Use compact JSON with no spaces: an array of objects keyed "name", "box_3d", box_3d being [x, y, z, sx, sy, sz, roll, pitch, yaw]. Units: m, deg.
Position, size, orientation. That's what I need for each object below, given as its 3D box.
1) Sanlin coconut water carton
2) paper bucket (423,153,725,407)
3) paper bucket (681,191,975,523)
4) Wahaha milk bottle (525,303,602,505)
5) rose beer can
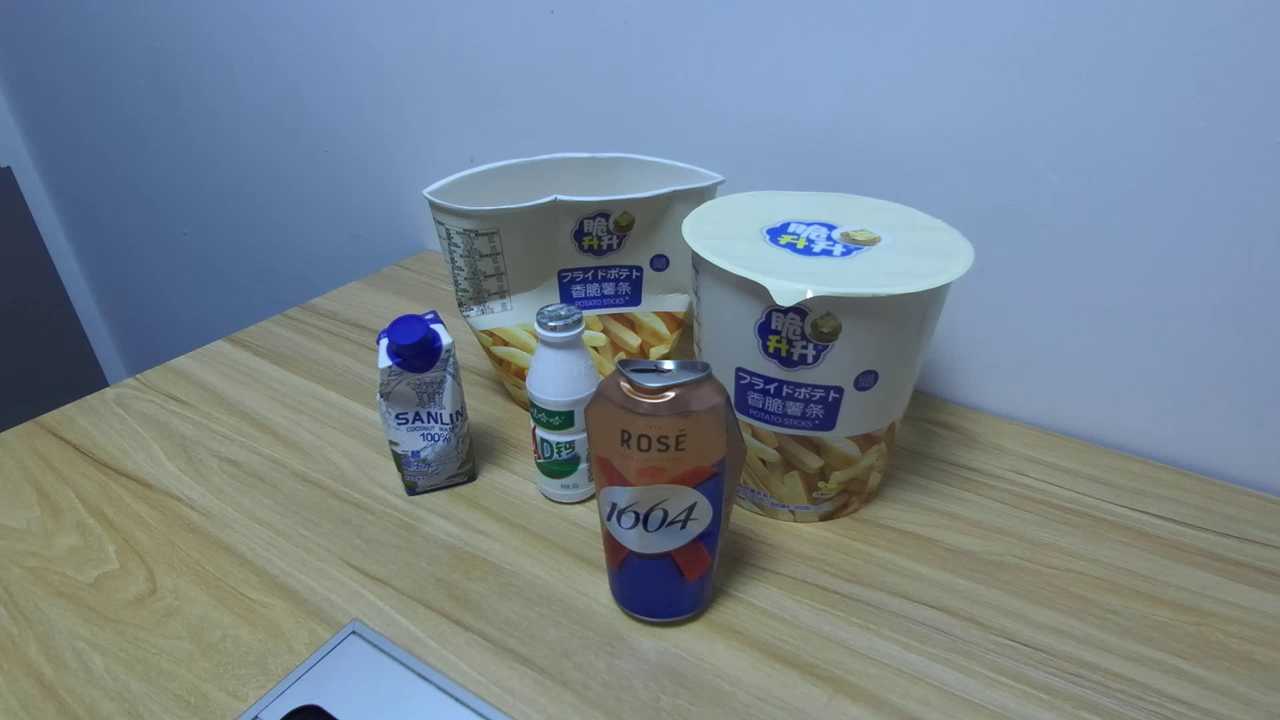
[{"name":"Sanlin coconut water carton","box_3d":[-0.161,0.026,0.518,0.061,0.144,0.069,-12,34,-17]},{"name":"paper bucket","box_3d":[-0.048,-0.066,0.616,0.219,0.199,0.147,-27,41,-36]},{"name":"paper bucket","box_3d":[0.122,-0.003,0.519,0.198,0.195,0.198,1,31,0]},{"name":"Wahaha milk bottle","box_3d":[-0.053,0.033,0.504,0.053,0.147,0.053,-1,32,1]},{"name":"rose beer can","box_3d":[0.014,0.077,0.416,0.069,0.168,0.069,-23,35,-37]}]
